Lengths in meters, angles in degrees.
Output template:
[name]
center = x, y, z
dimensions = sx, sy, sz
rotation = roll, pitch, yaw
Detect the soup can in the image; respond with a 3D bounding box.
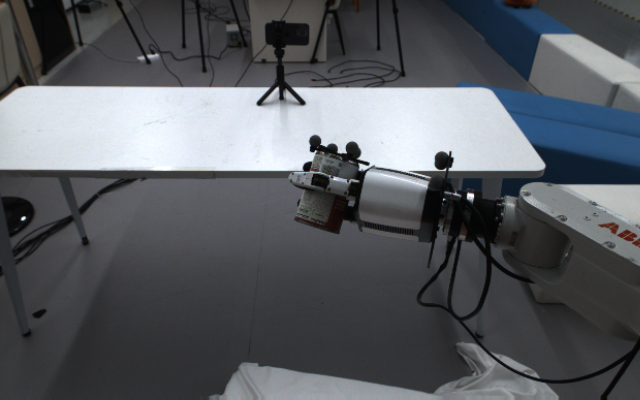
[soup can]
center = 0.011, -0.010, 0.682
dimensions = 0.067, 0.101, 0.067
rotation = 17, -1, 0
